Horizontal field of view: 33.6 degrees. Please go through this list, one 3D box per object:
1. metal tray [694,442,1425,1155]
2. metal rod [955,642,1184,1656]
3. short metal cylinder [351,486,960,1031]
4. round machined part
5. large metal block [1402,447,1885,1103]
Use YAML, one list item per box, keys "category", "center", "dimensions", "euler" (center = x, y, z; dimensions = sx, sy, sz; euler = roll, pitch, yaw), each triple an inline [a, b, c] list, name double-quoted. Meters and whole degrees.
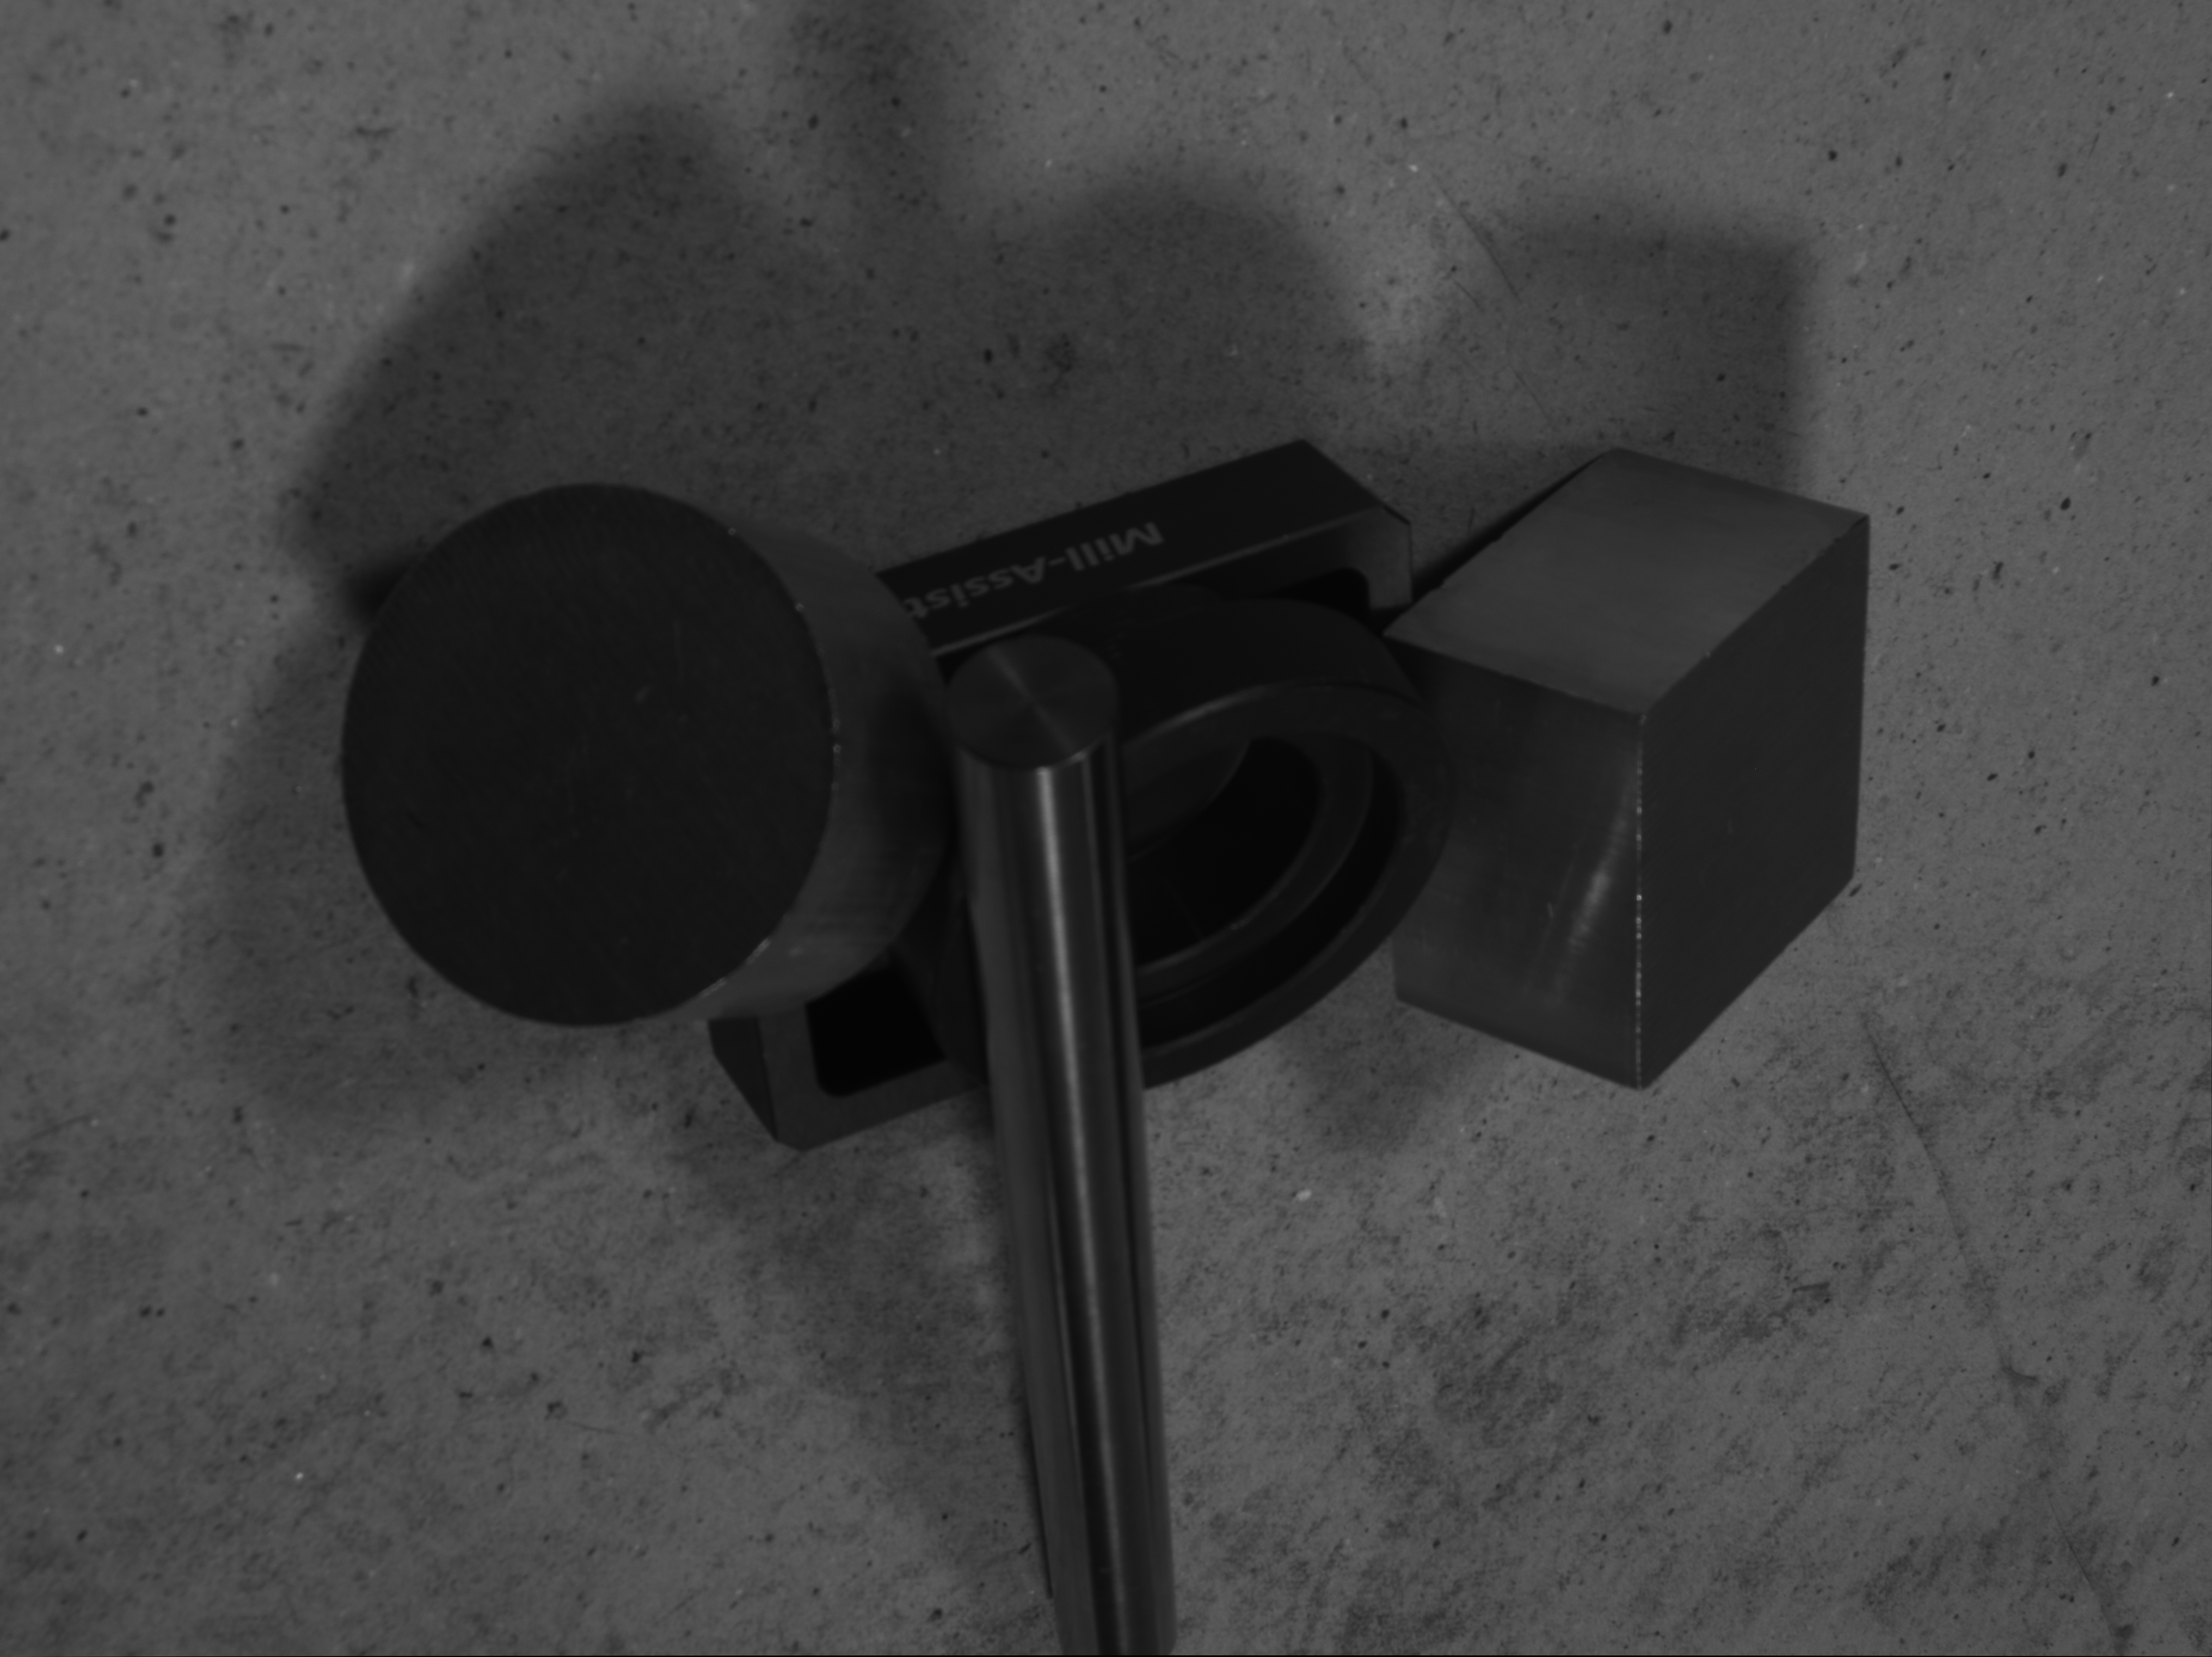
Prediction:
- category: "metal tray"
  center: [-0.007, -0.006, 0.640]
  dimensions: [0.130, 0.030, 0.090]
  euler: [-19, 126, -19]
- category: "metal rod"
  center: [-0.002, 0.075, 0.639]
  dimensions: [0.025, 0.025, 0.300]
  euler: [-25, 145, -15]
- category: "short metal cylinder"
  center: [-0.068, -0.010, 0.561]
  dimensions: [0.080, 0.080, 0.050]
  euler: [-55, 165, 10]
- category: "round machined part"
  center: [0.009, -0.001, 0.613]
  dimensions: [0.098, 0.042, 0.098]
  euler: [-20, 142, -16]
- category: "large metal block"
  center: [0.098, -0.011, 0.663]
  dimensions: [0.080, 0.050, 0.080]
  euler: [-38, 136, -39]
